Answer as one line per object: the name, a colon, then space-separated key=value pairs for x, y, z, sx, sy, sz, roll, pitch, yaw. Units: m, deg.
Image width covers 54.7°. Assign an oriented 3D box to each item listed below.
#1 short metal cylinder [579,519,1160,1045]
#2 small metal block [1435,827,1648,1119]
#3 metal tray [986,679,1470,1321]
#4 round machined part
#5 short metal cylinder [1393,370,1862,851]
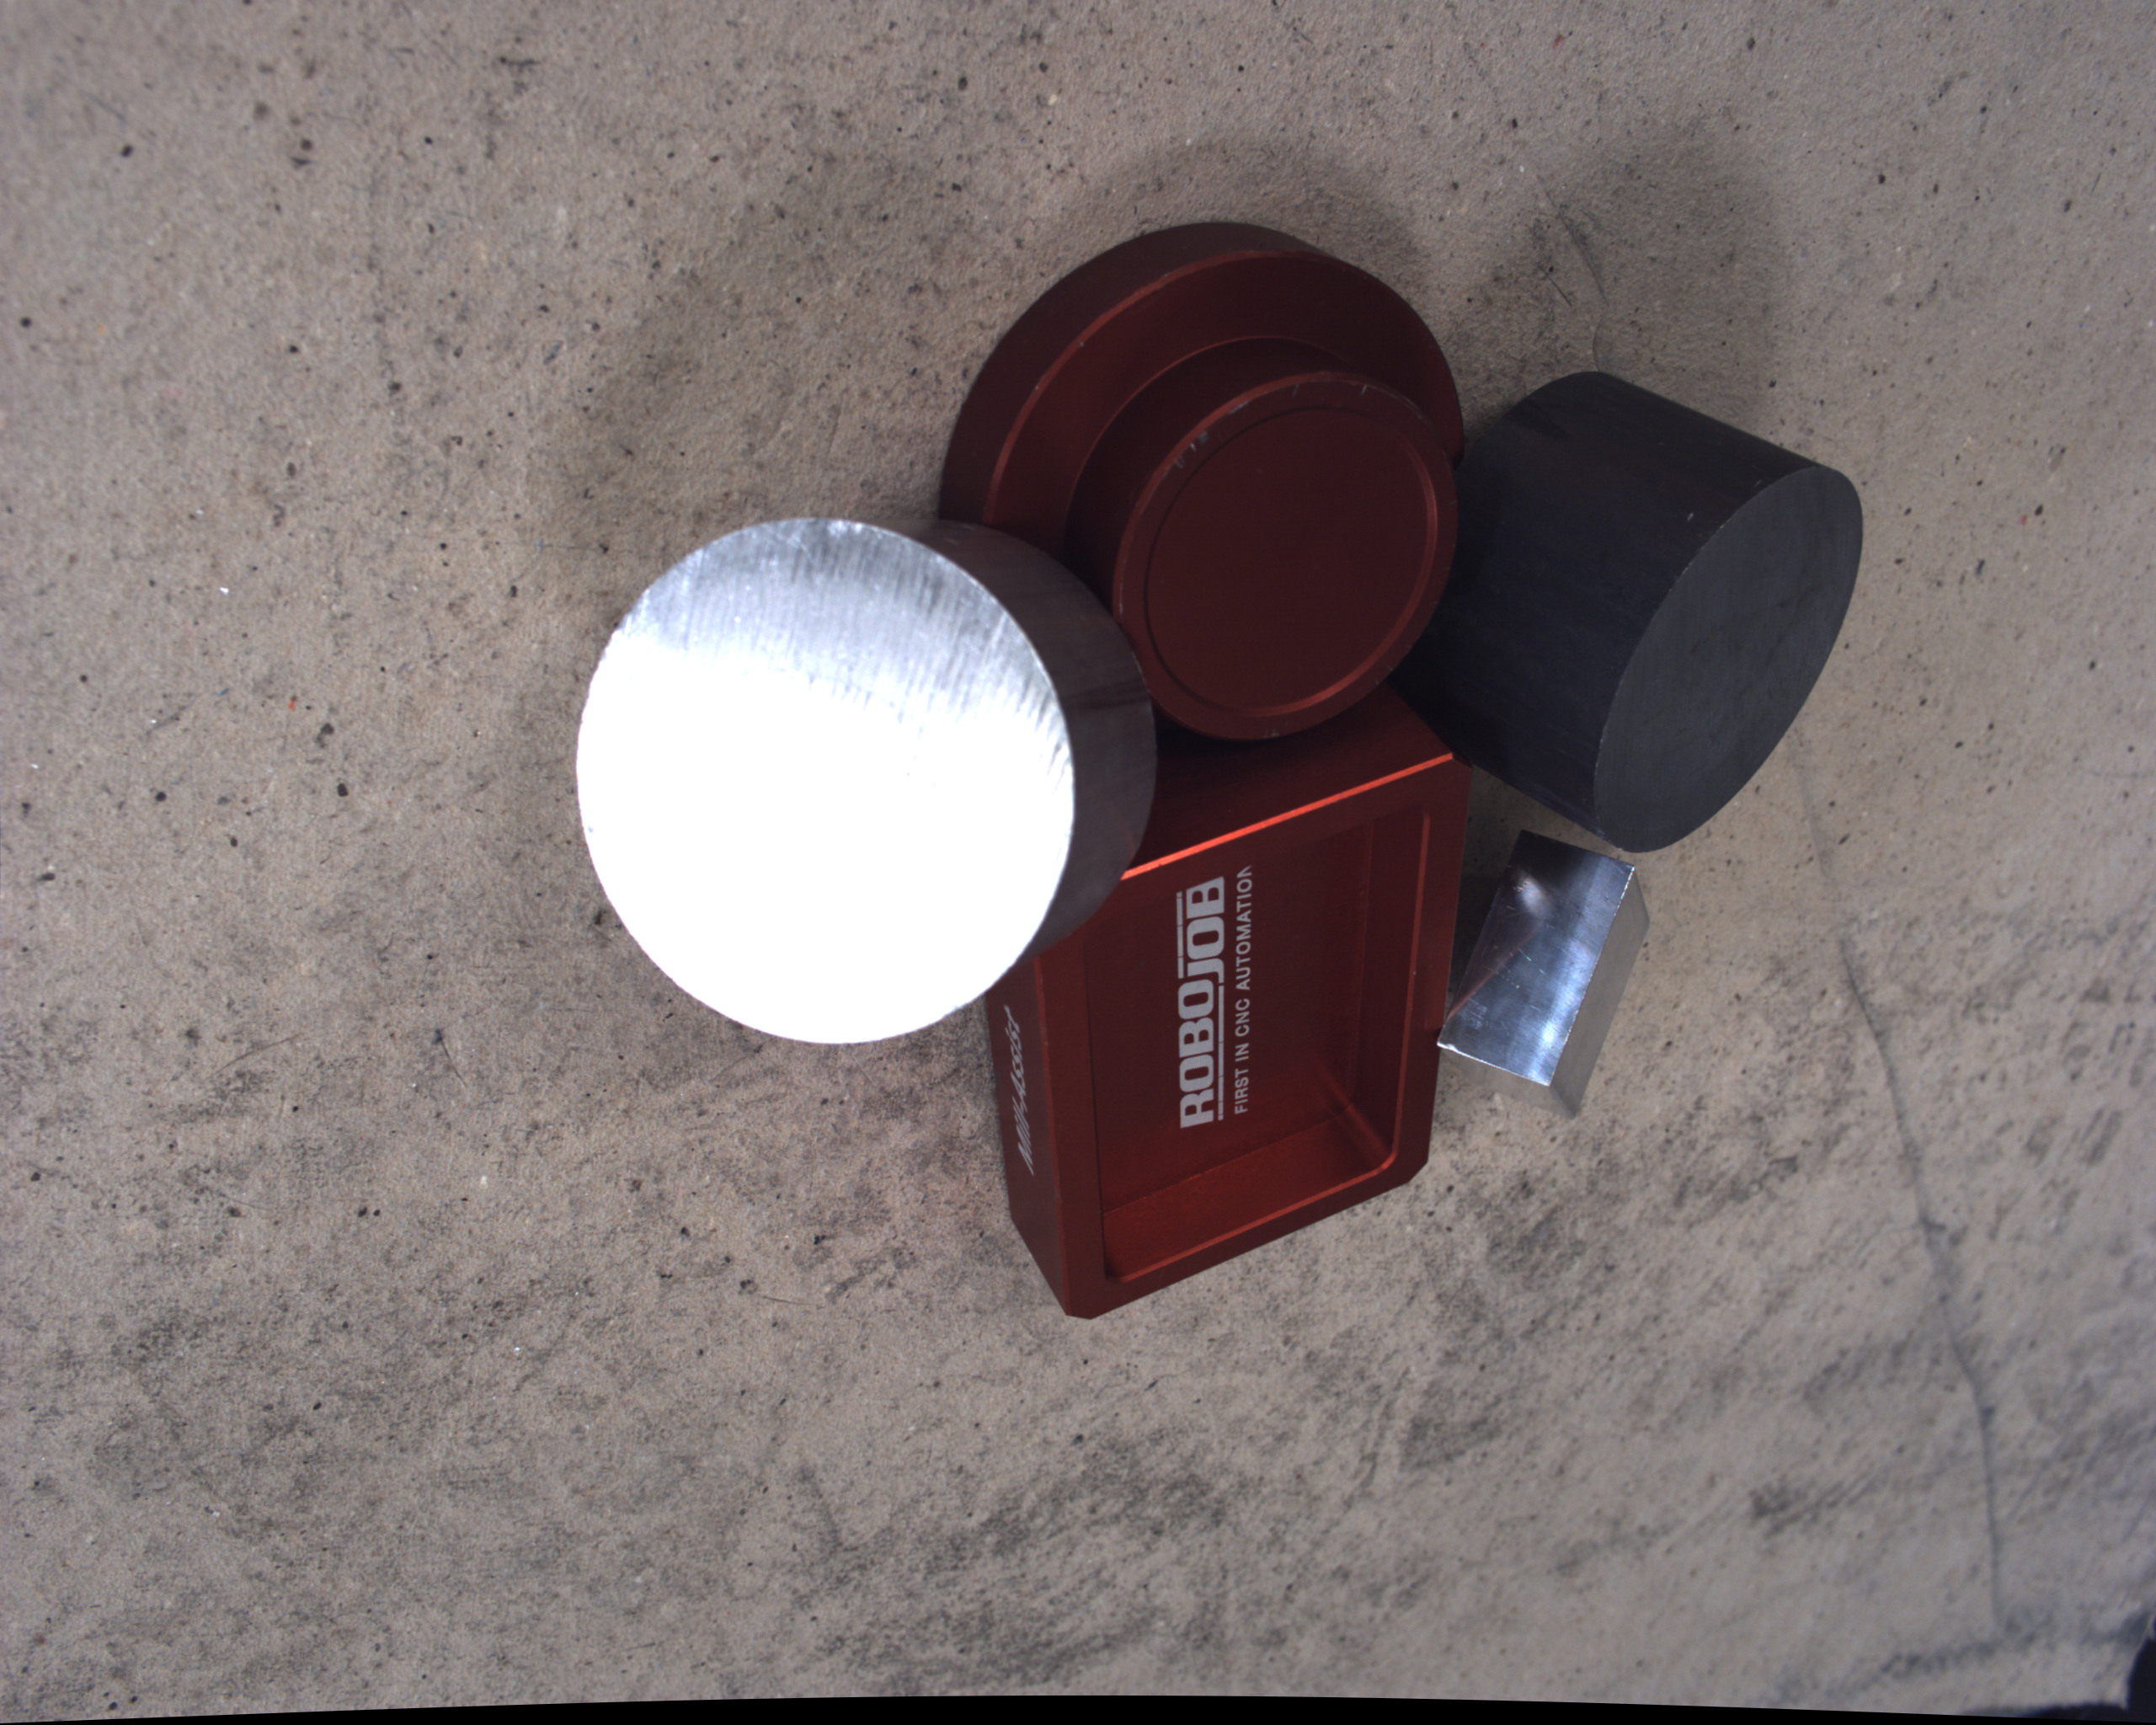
short metal cylinder: x=-0.032 y=-0.015 z=0.337 sx=0.080 sy=0.080 sz=0.050 roll=-61 pitch=170 yaw=15
small metal block: x=0.103 y=0.025 z=0.458 sx=0.050 sy=0.025 sz=0.050 roll=-67 pitch=157 yaw=-8
metal tray: x=0.029 y=0.030 z=0.425 sx=0.091 sy=0.030 sz=0.129 roll=-20 pitch=136 yaw=-17
round machined part: x=0.028 y=-0.062 z=0.375 sx=0.099 sy=0.042 sz=0.097 roll=-14 pitch=124 yaw=-21
short metal cylinder: x=0.106 y=-0.049 z=0.406 sx=0.081 sy=0.050 sz=0.079 roll=-29 pitch=138 yaw=-30
